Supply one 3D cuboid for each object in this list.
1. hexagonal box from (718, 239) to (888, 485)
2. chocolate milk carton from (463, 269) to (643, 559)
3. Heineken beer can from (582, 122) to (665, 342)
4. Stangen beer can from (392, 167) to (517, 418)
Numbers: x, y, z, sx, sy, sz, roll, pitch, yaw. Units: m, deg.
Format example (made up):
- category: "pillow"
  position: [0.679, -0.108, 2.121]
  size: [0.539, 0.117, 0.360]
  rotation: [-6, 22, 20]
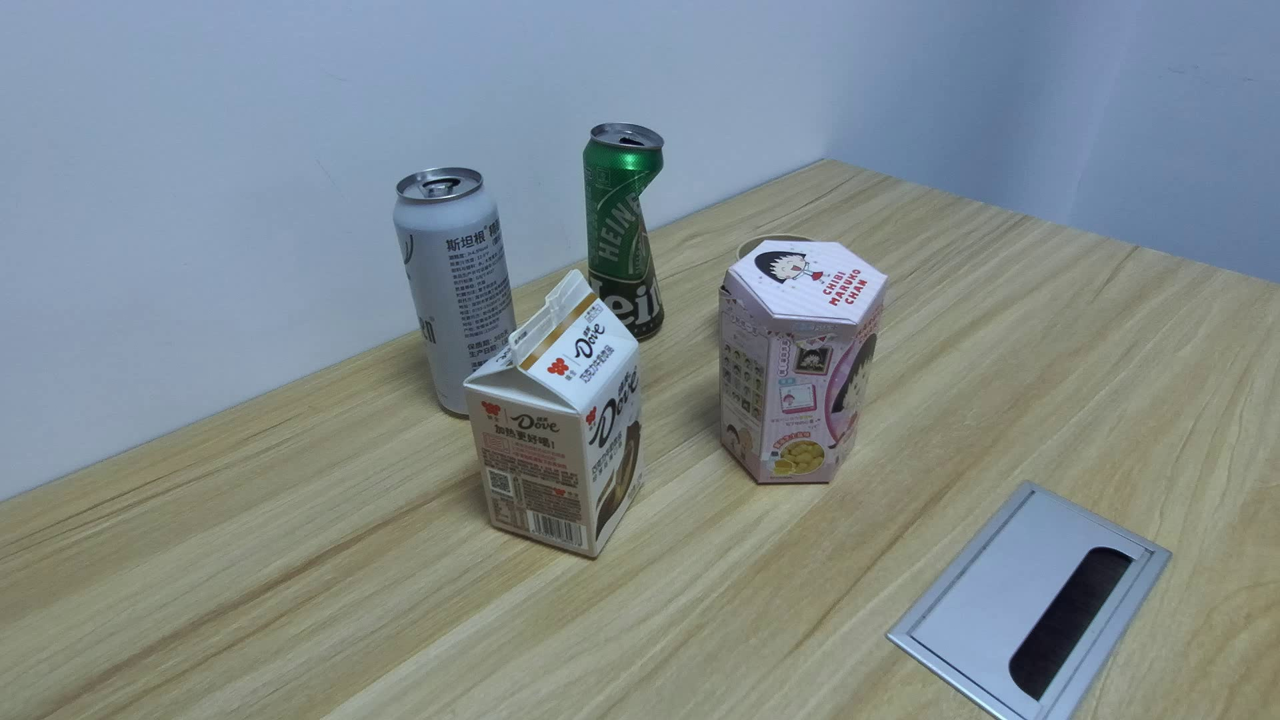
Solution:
- category: "hexagonal box"
  position: [0.097, 0.003, 0.444]
  size: [0.084, 0.135, 0.092]
  rotation: [21, 41, 29]
- category: "chocolate milk carton"
  position: [-0.046, 0.028, 0.405]
  size: [0.074, 0.148, 0.075]
  rotation: [12, 36, 20]
- category: "Heineken beer can"
  position: [-0.010, -0.098, 0.567]
  size: [0.068, 0.168, 0.069]
  rotation: [-27, 43, -35]
- category: "Stangen beer can"
  position: [-0.122, -0.042, 0.493]
  size: [0.067, 0.171, 0.067]
  rotation: [-2, 33, 2]
